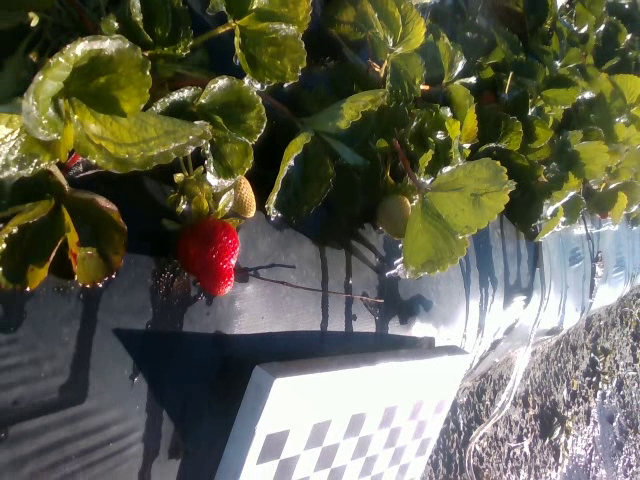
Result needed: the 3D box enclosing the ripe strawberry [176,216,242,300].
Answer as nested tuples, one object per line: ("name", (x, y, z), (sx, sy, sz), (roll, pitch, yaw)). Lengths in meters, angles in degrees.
("ripe strawberry", (-0.048, 0.012, 0.271), (0.039, 0.039, 0.040), (0, -43, -37))
